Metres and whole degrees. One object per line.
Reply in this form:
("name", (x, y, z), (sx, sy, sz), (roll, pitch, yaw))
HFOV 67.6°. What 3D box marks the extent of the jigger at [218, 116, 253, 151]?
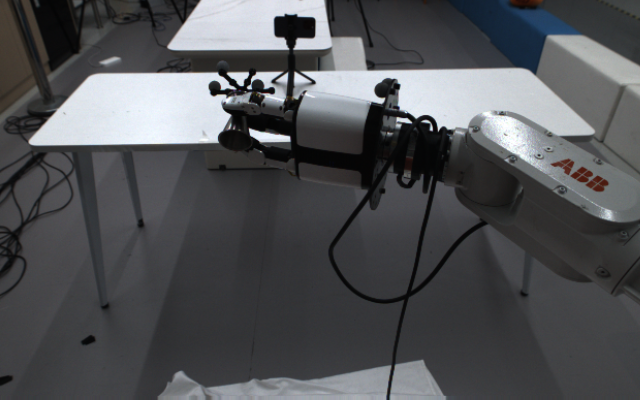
("jigger", (-0.106, -0.106, 0.628), (0.043, 0.043, 0.071), (2, 59, -1))
